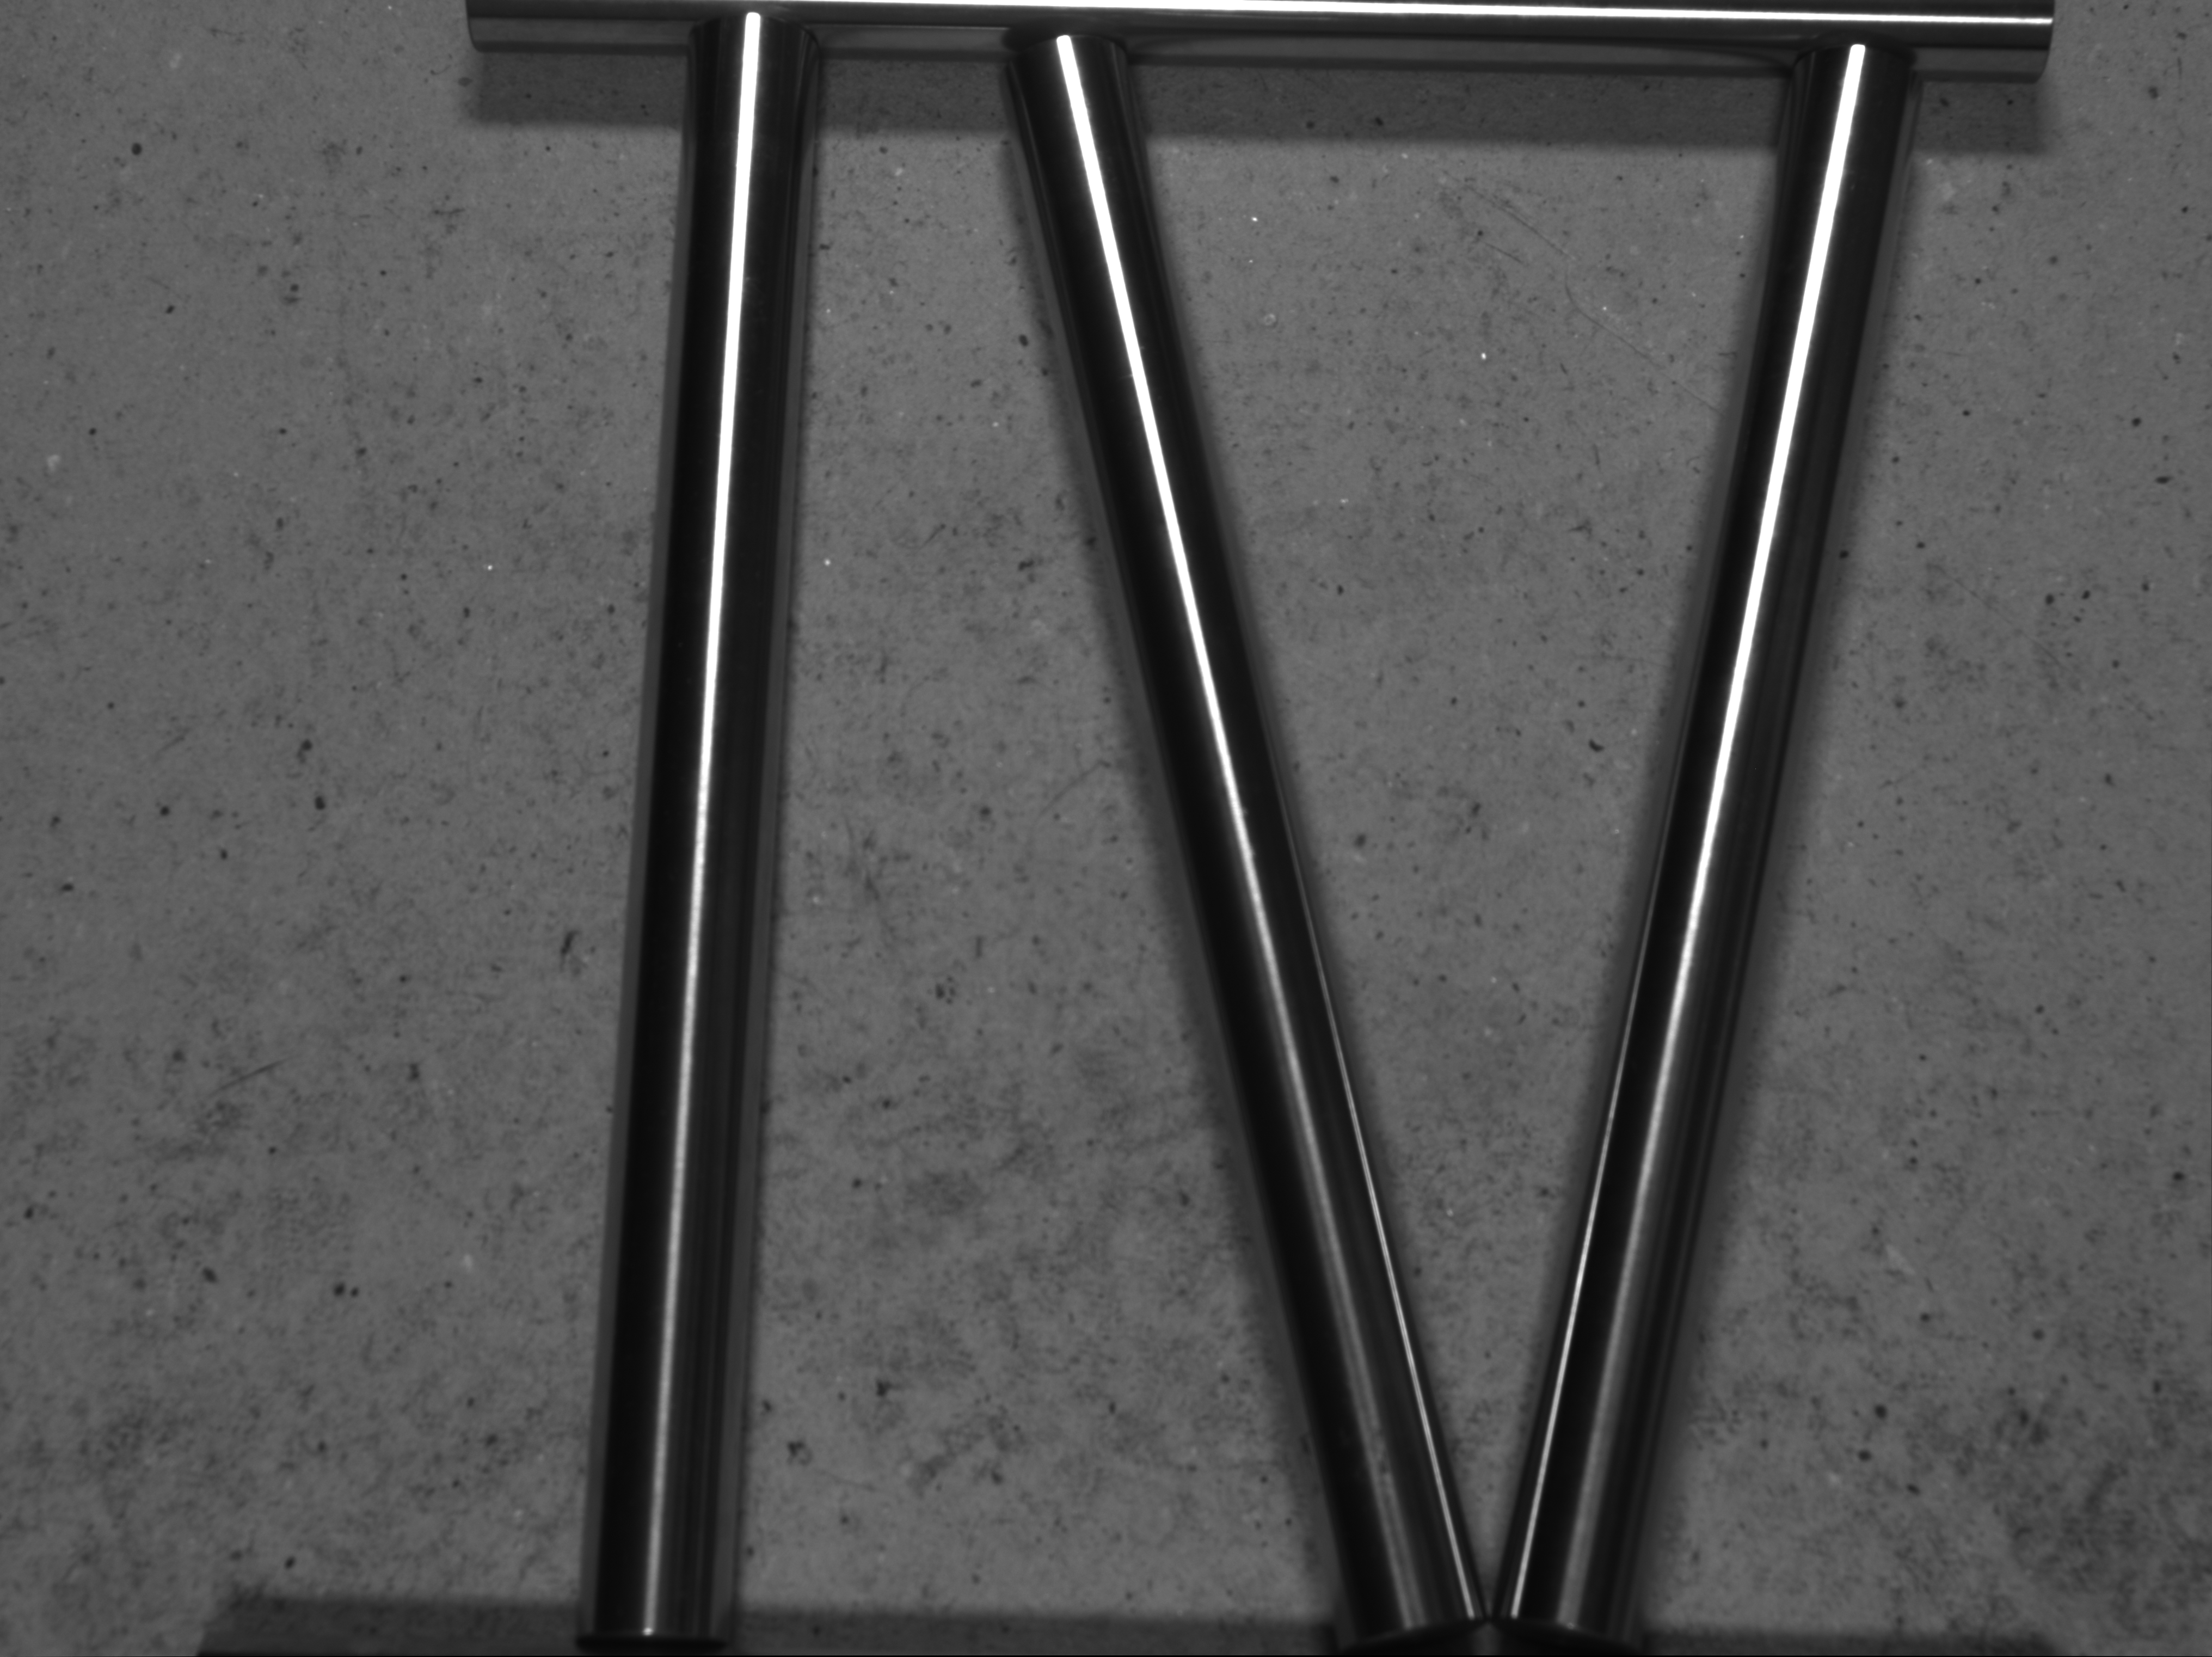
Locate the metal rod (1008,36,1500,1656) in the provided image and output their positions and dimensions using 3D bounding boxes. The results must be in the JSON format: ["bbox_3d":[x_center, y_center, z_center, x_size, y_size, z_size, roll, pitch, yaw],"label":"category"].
[{"bbox_3d":[0.023,-0.006,0.646,0.025,0.025,0.300,-11,70,-4],"label":"metal rod"}]

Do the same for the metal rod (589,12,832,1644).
[{"bbox_3d":[-0.068,-0.008,0.647,0.025,0.025,0.300,1,70,1],"label":"metal rod"}]

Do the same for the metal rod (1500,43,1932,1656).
[{"bbox_3d":[0.110,-0.005,0.646,0.025,0.025,0.300,12,70,5],"label":"metal rod"}]

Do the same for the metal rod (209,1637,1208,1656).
[{"bbox_3d":[0.006,0.146,0.590,0.300,0.025,0.025,1,70,0],"label":"metal rod"}]

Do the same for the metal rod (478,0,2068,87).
[{"bbox_3d":[0.031,-0.158,0.703,0.300,0.025,0.025,1,70,0],"label":"metal rod"}]
